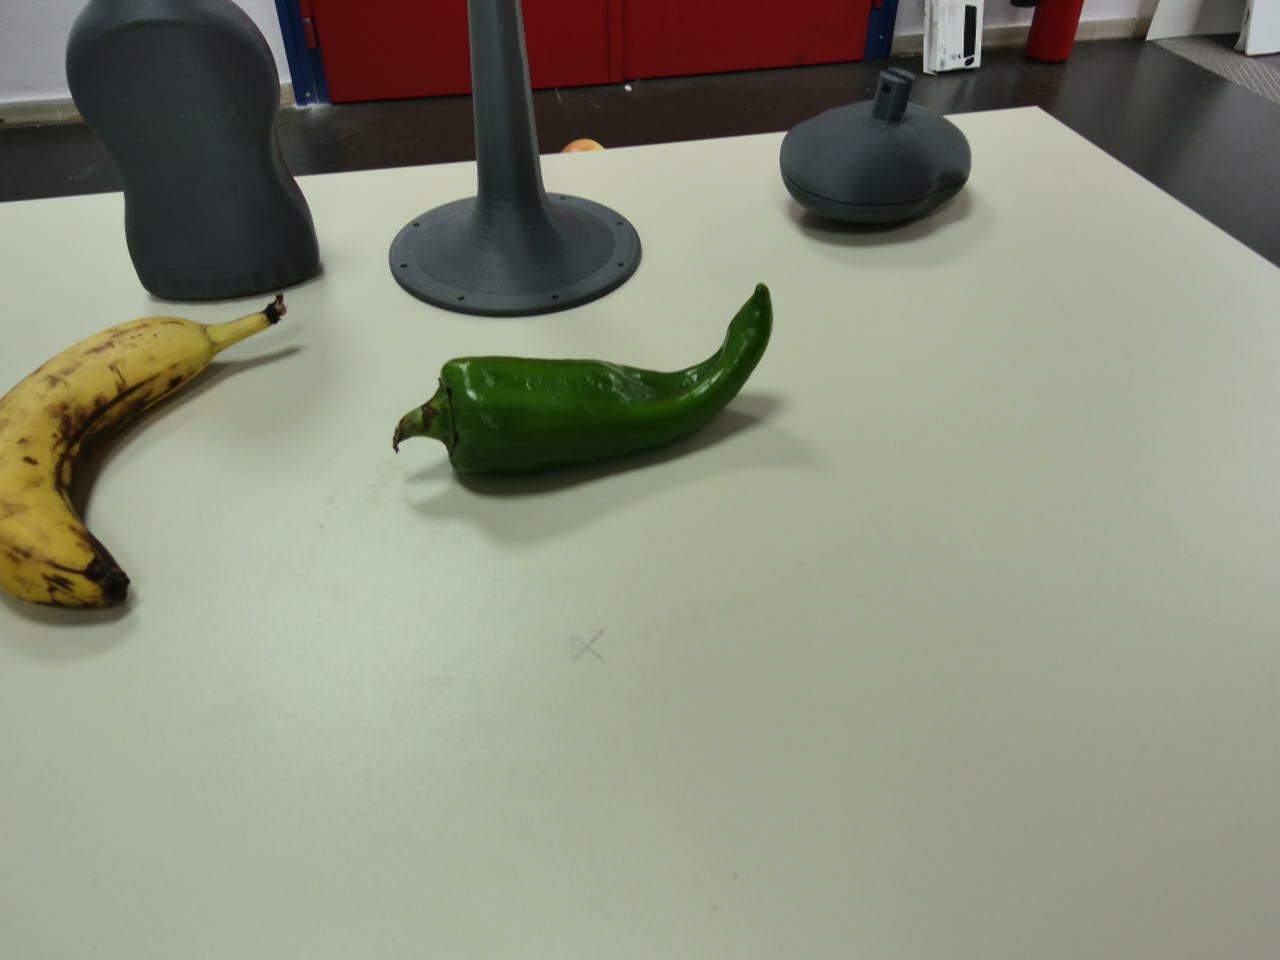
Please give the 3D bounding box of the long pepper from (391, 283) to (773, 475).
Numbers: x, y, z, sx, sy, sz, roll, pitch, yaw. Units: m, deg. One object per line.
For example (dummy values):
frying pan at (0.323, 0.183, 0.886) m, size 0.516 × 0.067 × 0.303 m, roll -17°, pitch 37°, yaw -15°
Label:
long pepper at (-0.022, -0.042, 0.439) m, size 0.175 × 0.065 × 0.058 m, roll -10°, pitch 39°, yaw -12°
